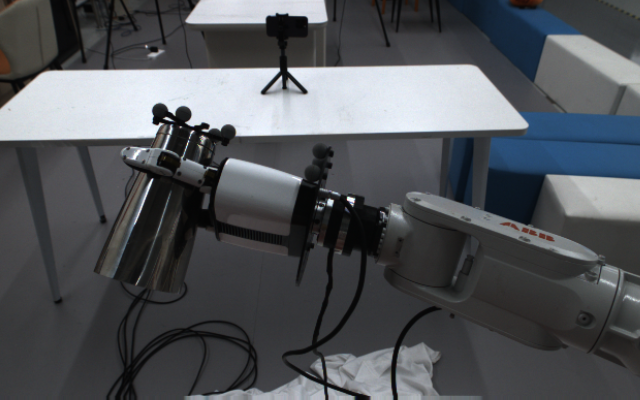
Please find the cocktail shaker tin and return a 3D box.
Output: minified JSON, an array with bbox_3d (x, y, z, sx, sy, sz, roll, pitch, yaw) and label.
[{"bbox_3d":[-0.169,0.007,0.534,0.093,0.093,0.170,13,79,15],"label":"cocktail shaker tin"}]
